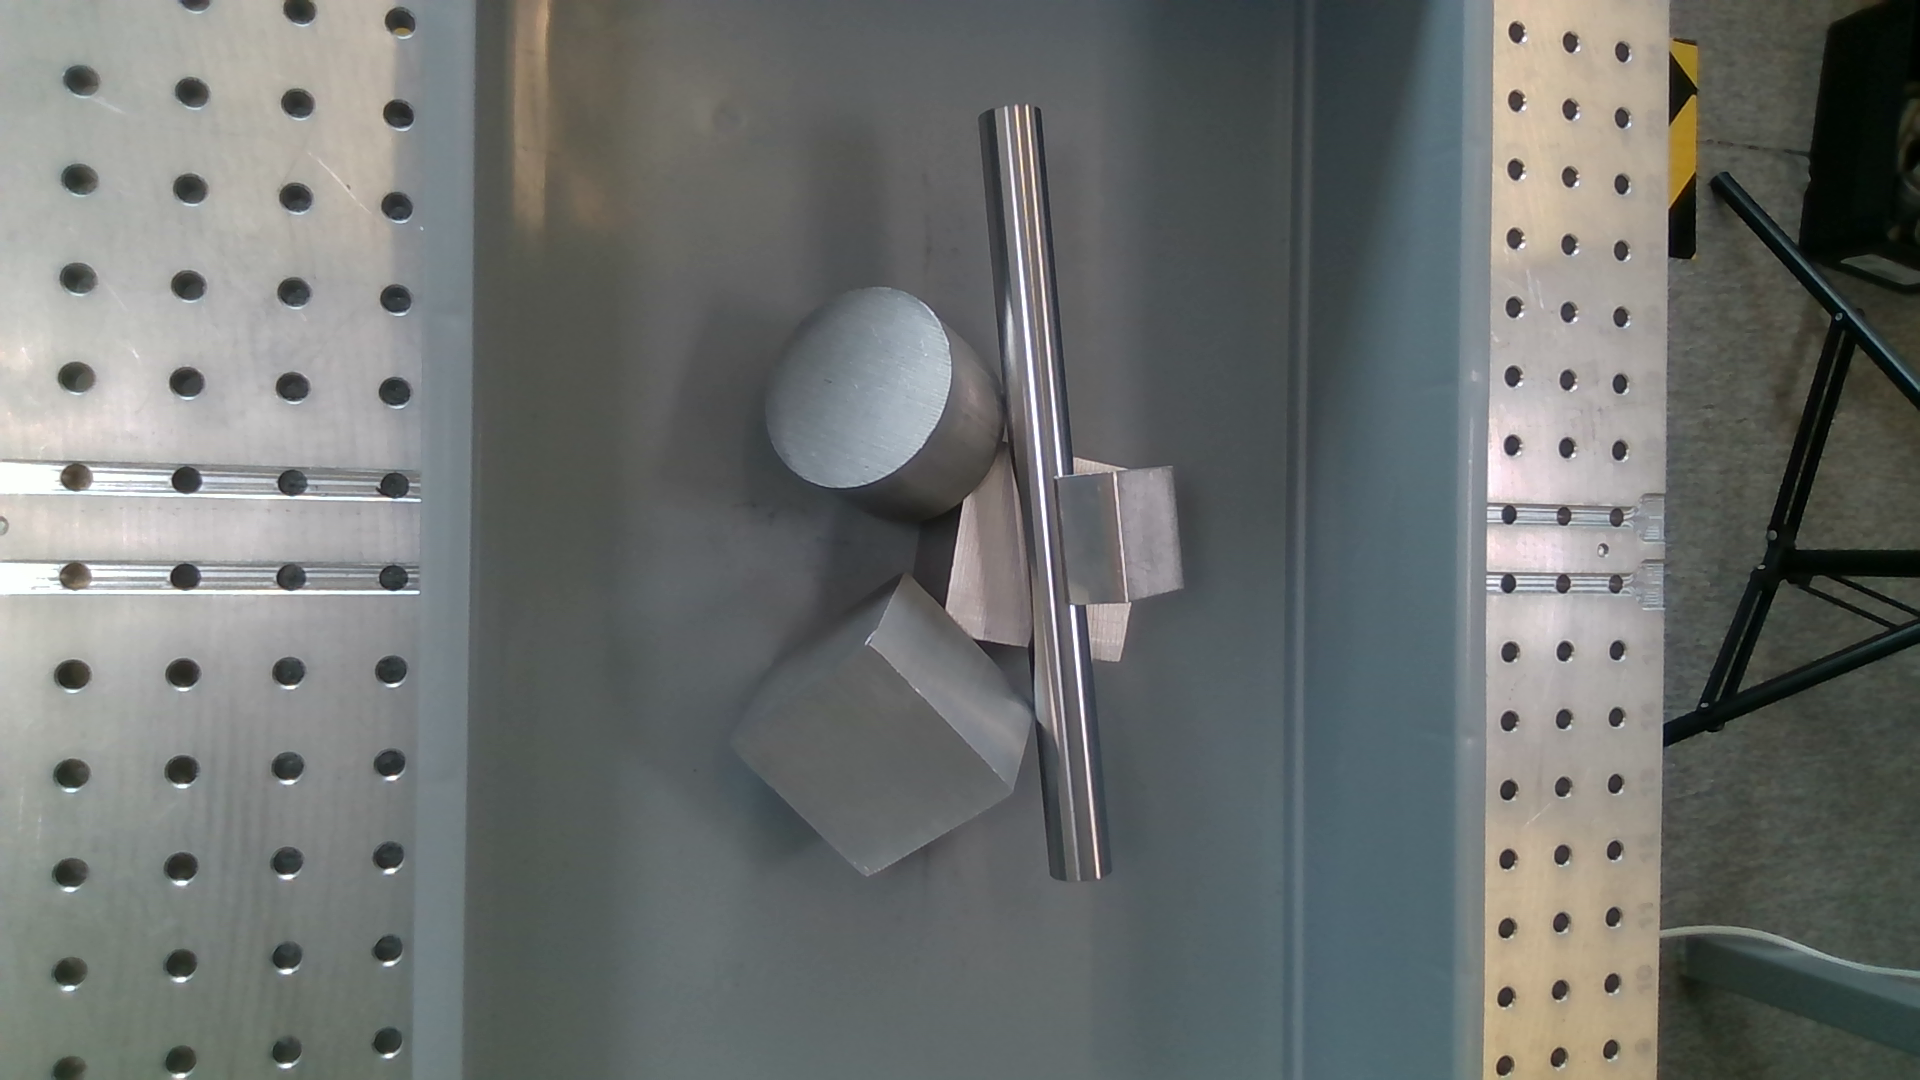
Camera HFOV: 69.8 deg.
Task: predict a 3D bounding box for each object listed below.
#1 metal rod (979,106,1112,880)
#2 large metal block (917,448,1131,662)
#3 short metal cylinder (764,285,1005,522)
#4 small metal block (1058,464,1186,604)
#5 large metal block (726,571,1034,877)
[{"bbox_3d":[0.034,-0.017,0.544,0.025,0.025,0.300,-6,92,-20],"label":"metal rod"},{"bbox_3d":[0.028,0.004,0.582,0.080,0.050,0.080,11,86,-20],"label":"large metal block"},{"bbox_3d":[-0.029,-0.052,0.538,0.050,0.080,0.080,30,76,-61],"label":"short metal cylinder"},{"bbox_3d":[0.065,-0.003,0.543,0.050,0.025,0.050,-8,93,-55],"label":"small metal block"},{"bbox_3d":[-0.029,0.073,0.539,0.080,0.050,0.080,-35,106,28],"label":"large metal block"}]
